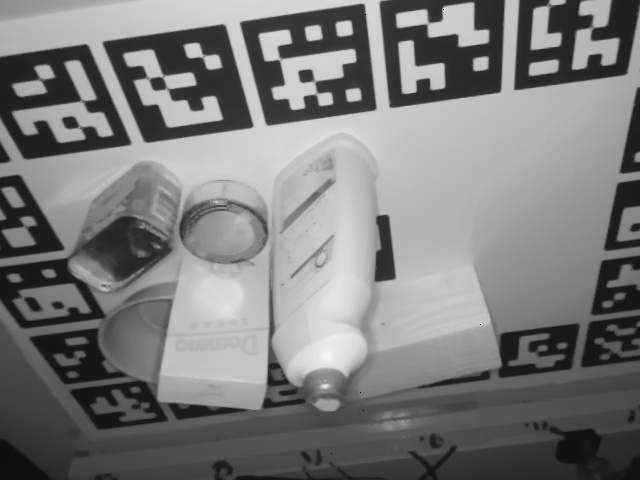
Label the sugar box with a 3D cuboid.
[{"bbox_3d":[-0.093,0.076,0.668,0.093,0.177,0.045,7,128,-13],"label":"sugar box"}]

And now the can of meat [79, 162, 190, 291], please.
[{"bbox_3d":[-0.170,-0.014,0.654,0.100,0.084,0.058,-32,128,23],"label":"can of meat"}]

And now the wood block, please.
[{"bbox_3d":[0.101,0.115,0.780,0.205,0.090,0.090,-15,125,9],"label":"wood block"}]

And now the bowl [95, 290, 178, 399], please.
[{"bbox_3d":[-0.162,0.107,0.772,0.162,0.055,0.160,-5,130,-5],"label":"bowl"}]

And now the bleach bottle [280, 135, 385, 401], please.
[{"bbox_3d":[0.016,0.019,0.582,0.101,0.252,0.068,-28,127,19],"label":"bleach bottle"}]

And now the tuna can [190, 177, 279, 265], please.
[{"bbox_3d":[-0.083,-0.019,0.681,0.086,0.034,0.085,-2,127,-2],"label":"tuna can"}]
